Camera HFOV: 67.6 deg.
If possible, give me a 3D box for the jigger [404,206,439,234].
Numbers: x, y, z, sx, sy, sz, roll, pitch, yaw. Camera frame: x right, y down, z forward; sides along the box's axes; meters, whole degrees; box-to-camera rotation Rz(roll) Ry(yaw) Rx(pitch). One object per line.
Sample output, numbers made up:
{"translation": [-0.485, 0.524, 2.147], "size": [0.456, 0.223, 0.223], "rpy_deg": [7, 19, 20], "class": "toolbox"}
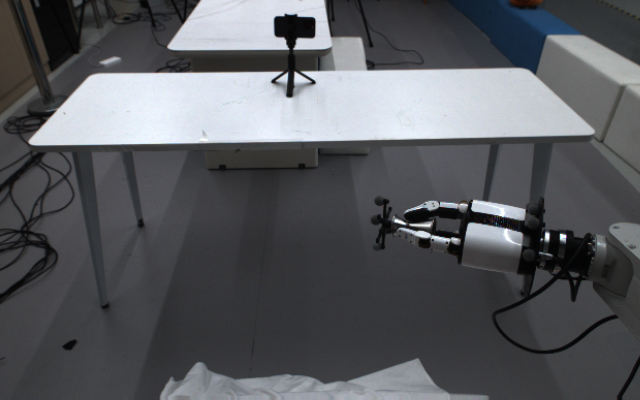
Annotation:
{"translation": [0.163, 0.044, 0.812], "size": [0.071, 0.043, 0.043], "rpy_deg": [6, 34, 21], "class": "jigger"}
